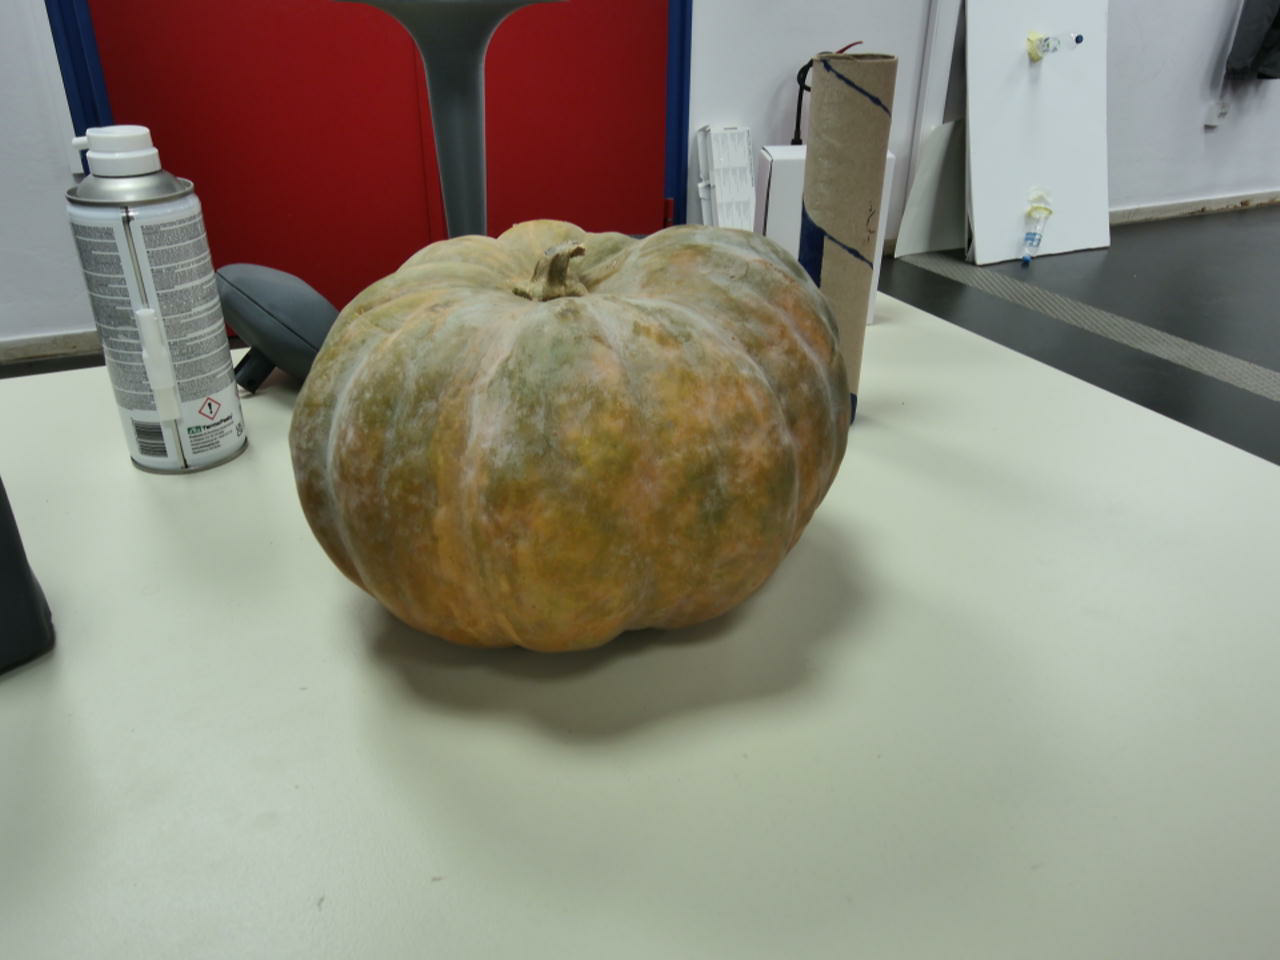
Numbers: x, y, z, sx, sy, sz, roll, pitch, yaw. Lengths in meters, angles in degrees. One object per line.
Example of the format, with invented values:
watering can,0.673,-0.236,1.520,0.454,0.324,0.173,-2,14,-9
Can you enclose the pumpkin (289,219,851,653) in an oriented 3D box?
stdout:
pumpkin,-0.033,-0.027,0.458,0.252,0.169,0.251,0,26,0
